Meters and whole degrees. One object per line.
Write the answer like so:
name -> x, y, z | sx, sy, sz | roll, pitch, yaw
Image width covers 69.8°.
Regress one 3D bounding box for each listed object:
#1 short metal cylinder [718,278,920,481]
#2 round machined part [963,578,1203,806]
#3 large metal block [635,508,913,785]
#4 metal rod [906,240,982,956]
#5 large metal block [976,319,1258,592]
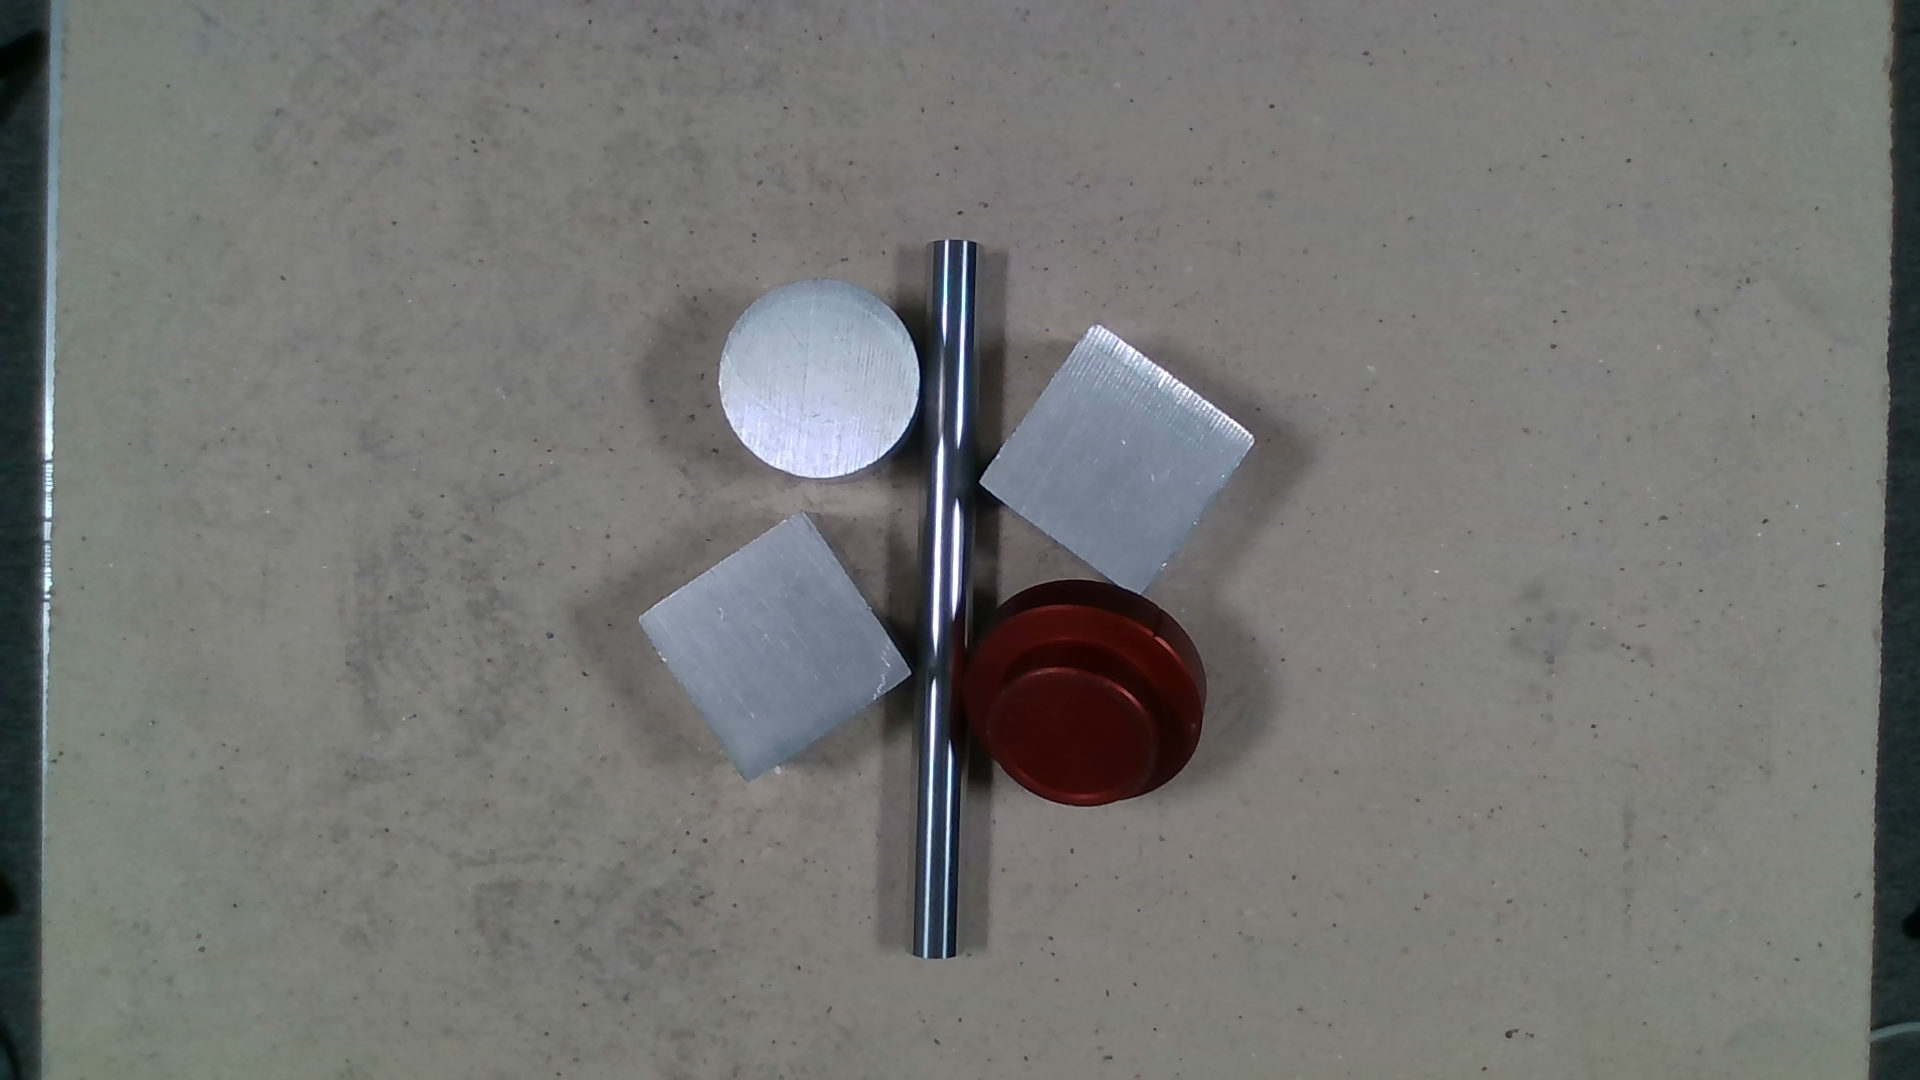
short metal cylinder -> -0.057, -0.064, 0.574 | 0.080, 0.050, 0.080 | 0, 90, 0
round machined part -> 0.048, 0.068, 0.556 | 0.098, 0.042, 0.098 | 7, 119, 12
large metal block -> -0.074, 0.042, 0.575 | 0.080, 0.050, 0.080 | -33, 90, 0
metal rod -> -0.007, 0.025, 0.588 | 0.025, 0.025, 0.300 | 2, 91, 0
large metal block -> 0.062, -0.032, 0.572 | 0.080, 0.050, 0.080 | 36, 90, 0
